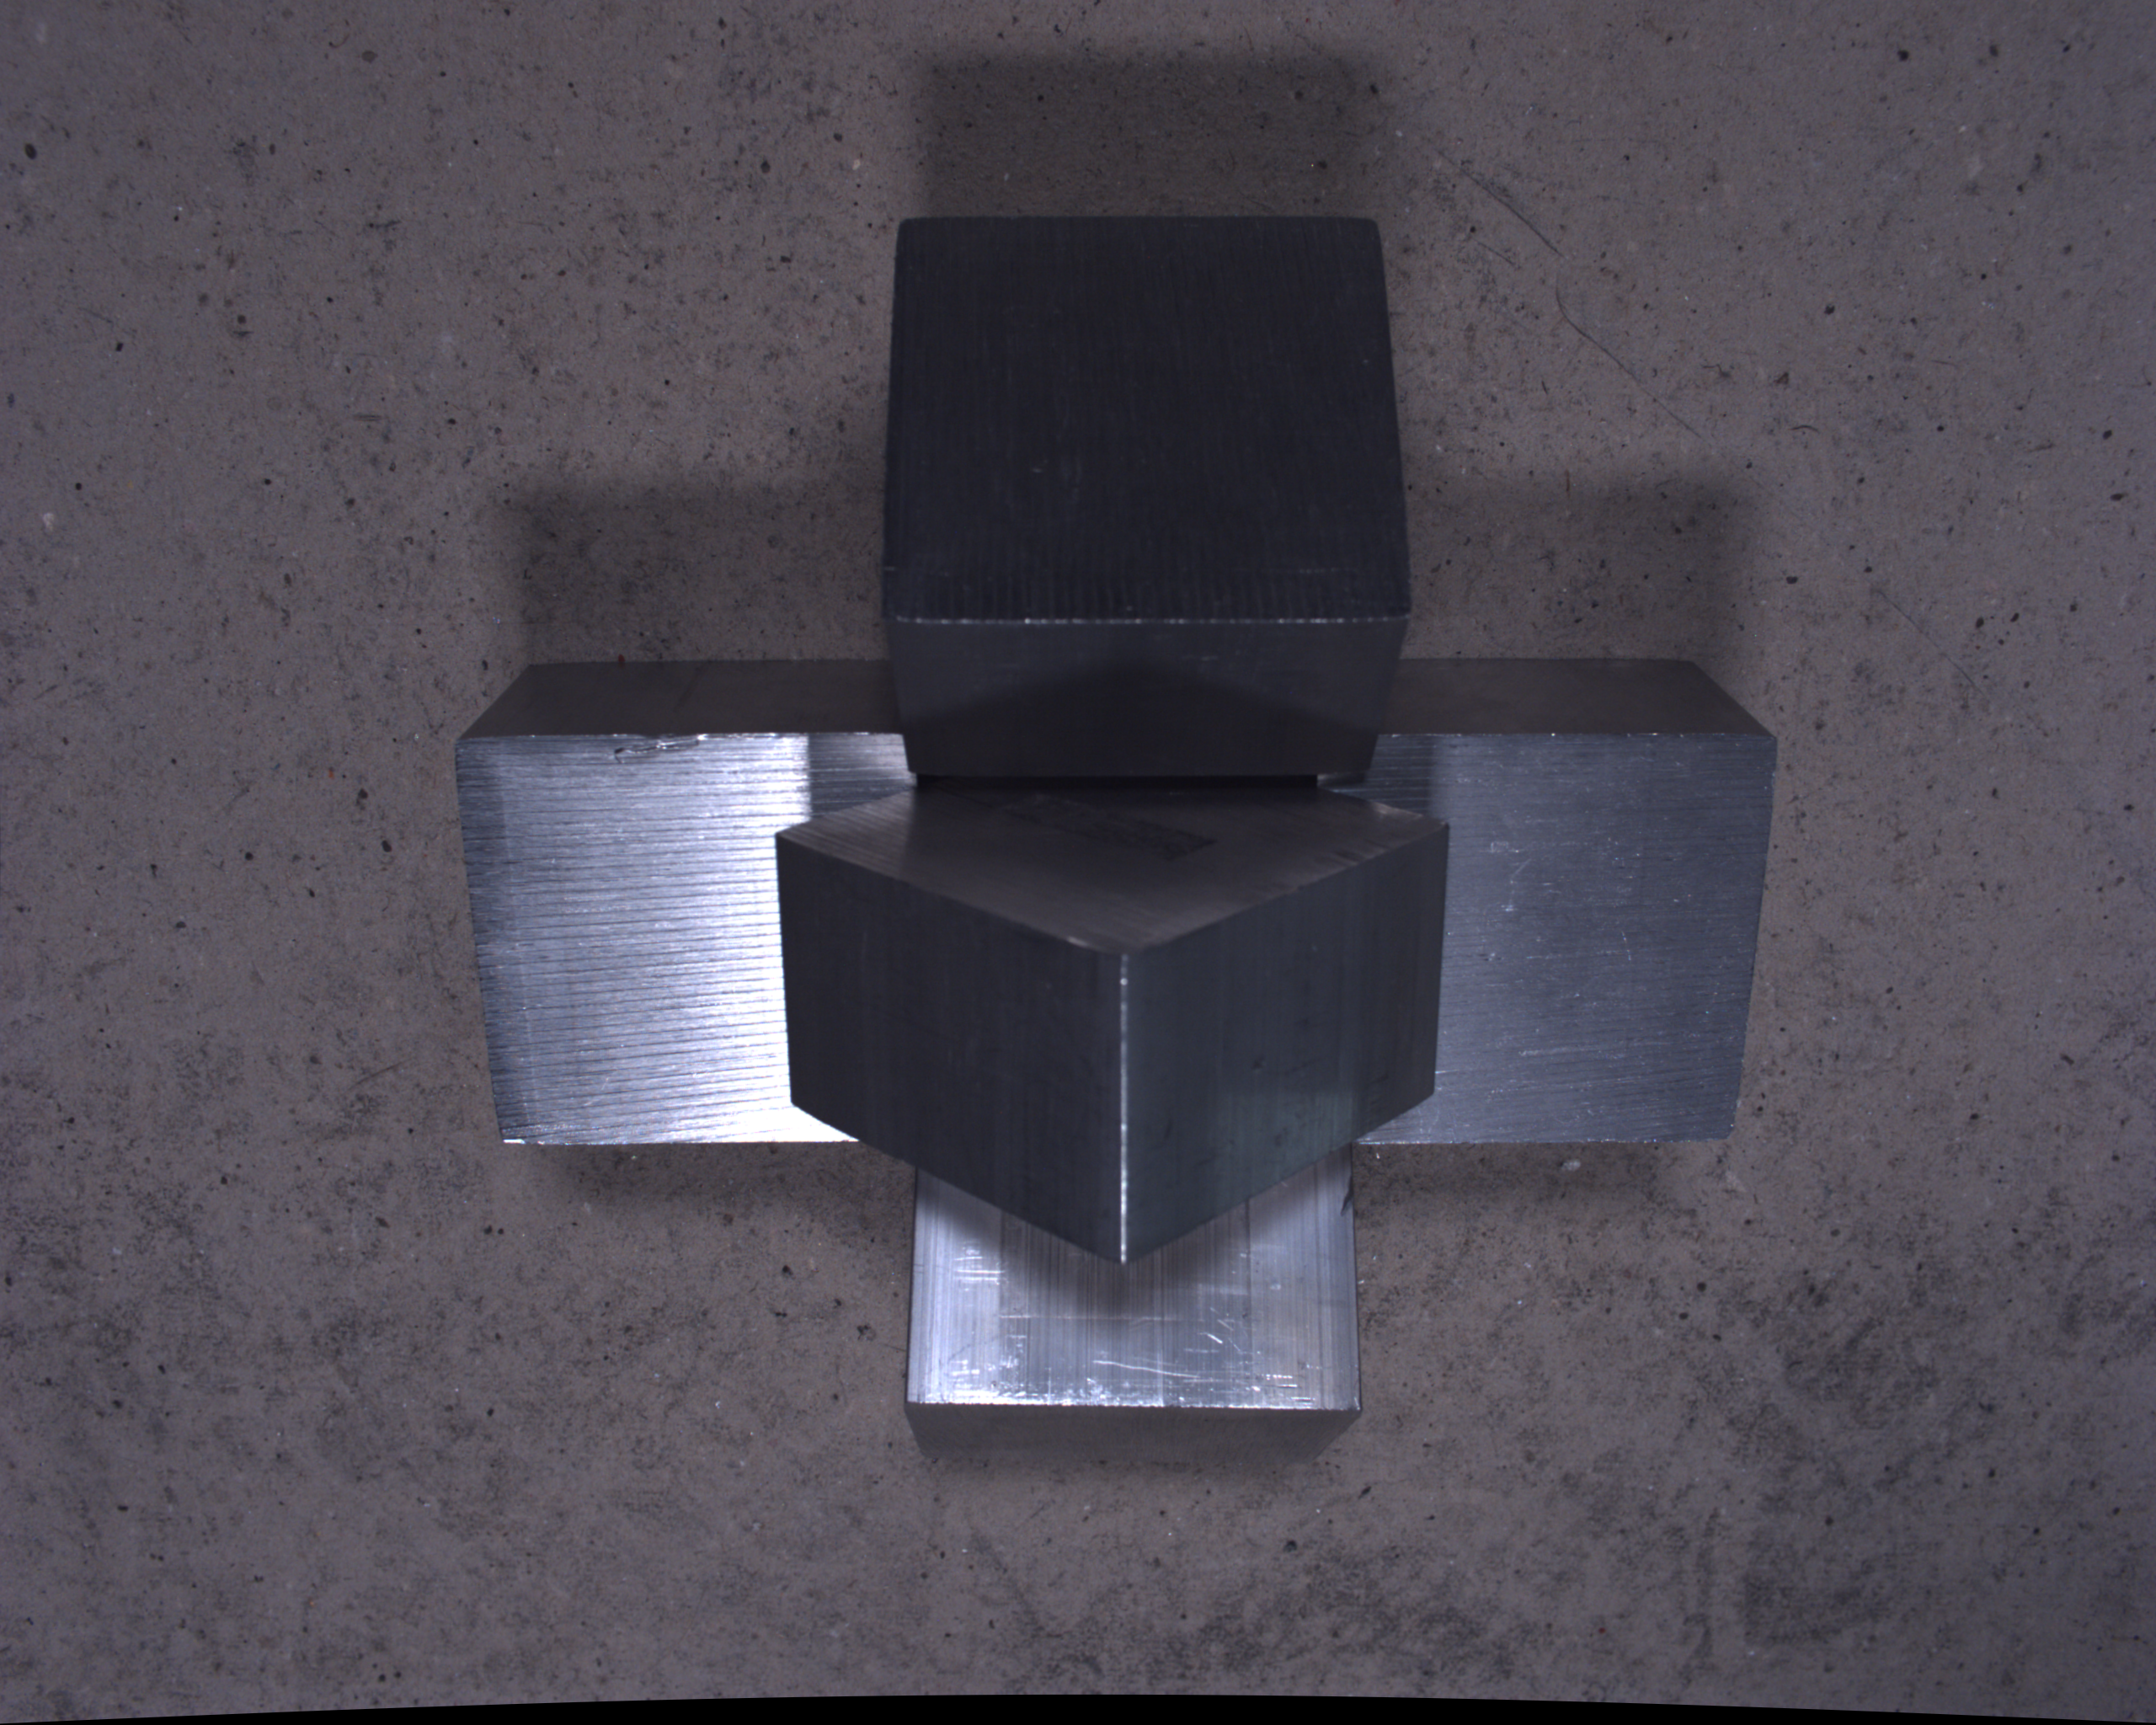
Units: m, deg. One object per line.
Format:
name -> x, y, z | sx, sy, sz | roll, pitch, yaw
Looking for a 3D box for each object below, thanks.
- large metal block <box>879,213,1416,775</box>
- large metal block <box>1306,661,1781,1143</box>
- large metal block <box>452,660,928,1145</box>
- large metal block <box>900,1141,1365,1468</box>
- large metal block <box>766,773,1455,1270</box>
large metal block -> 0.010, -0.062, 0.353 | 0.081, 0.080, 0.050 | 0, 154, 0
large metal block -> 0.081, 0.006, 0.398 | 0.081, 0.050, 0.079 | 0, 110, -1
large metal block -> -0.068, 0.006, 0.399 | 0.081, 0.050, 0.079 | -1, 110, -1
large metal block -> 0.010, 0.087, 0.407 | 0.081, 0.080, 0.050 | 1, 67, 0
large metal block -> 0.006, 0.017, 0.353 | 0.080, 0.081, 0.050 | 18, 117, 41
